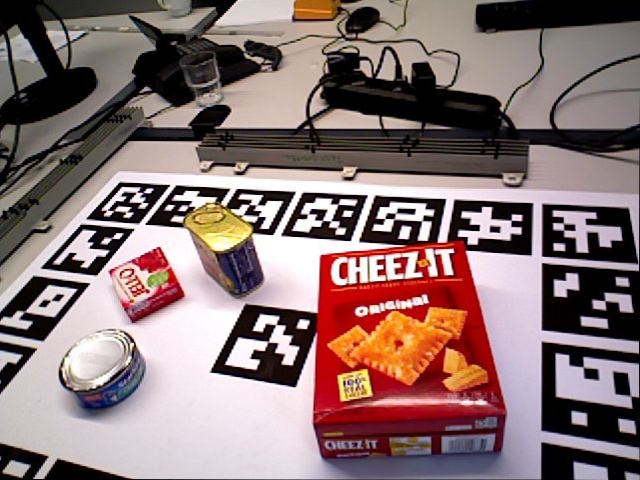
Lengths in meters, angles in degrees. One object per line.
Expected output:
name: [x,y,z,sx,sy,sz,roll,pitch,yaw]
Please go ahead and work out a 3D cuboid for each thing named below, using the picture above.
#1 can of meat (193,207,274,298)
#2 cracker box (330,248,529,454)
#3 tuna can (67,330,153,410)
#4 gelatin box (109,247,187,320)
can of meat: [-0.109,0.017,0.699,0.056,0.085,0.102,-36,45,-29]
cracker box: [0.096,0.102,0.556,0.164,0.073,0.210,-6,38,3]
tuna can: [-0.230,0.143,0.599,0.086,0.034,0.084,-8,42,6]
gelatin box: [-0.226,0.054,0.713,0.072,0.031,0.089,-26,44,-22]
